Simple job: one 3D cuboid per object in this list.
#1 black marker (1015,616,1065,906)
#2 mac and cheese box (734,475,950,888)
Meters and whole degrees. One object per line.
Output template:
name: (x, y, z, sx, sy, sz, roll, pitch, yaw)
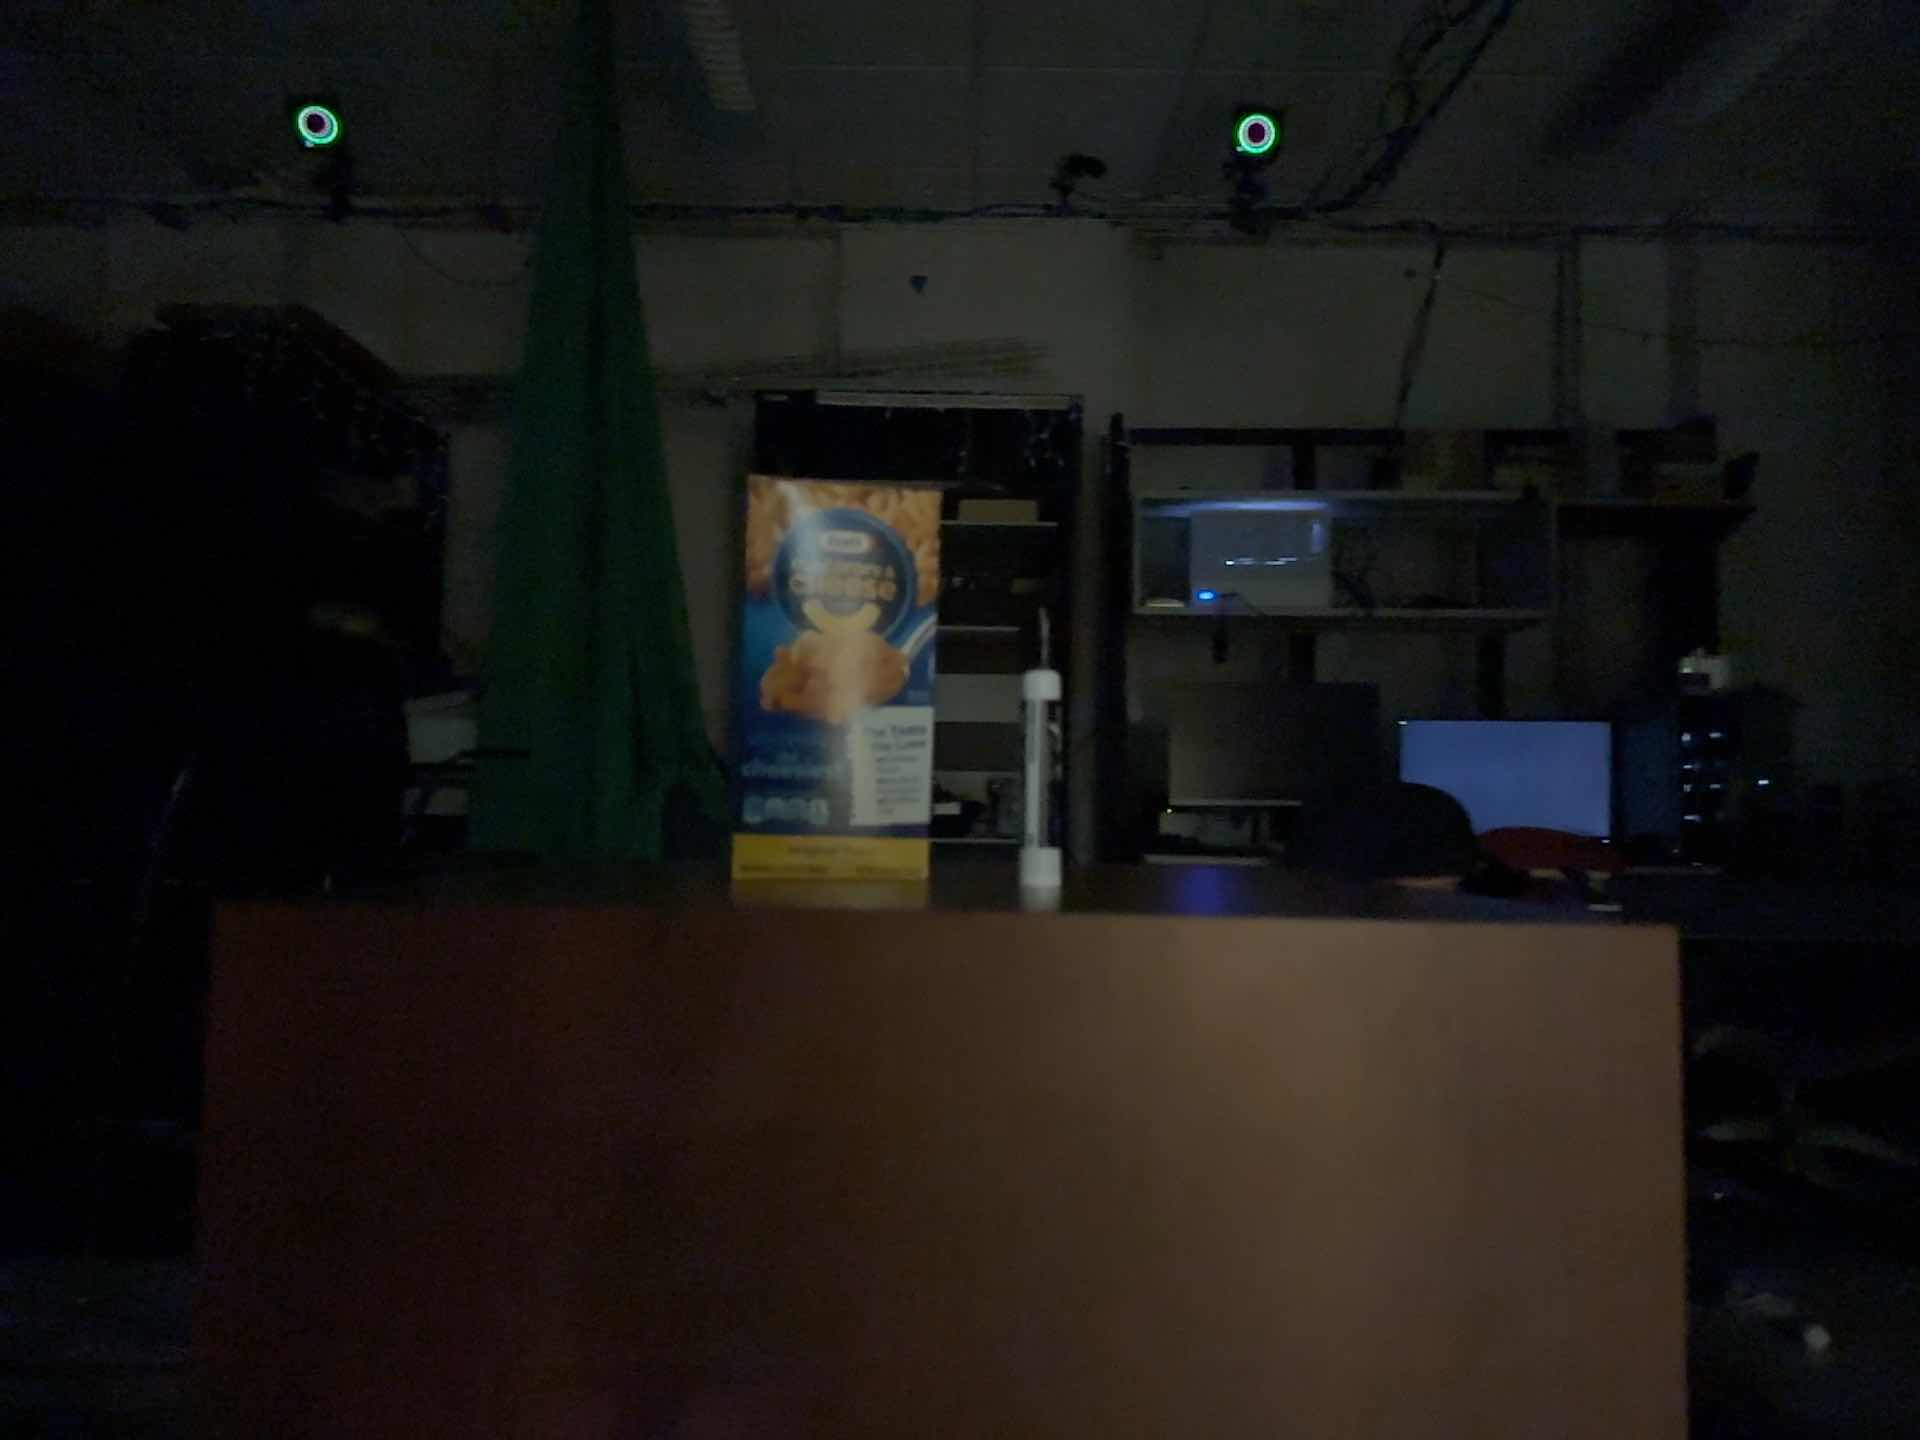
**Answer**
black marker: (0.034, 0.017, 0.565, 0.020, 0.121, 0.020, 1, -4, 0)
mac and cheese box: (-0.054, -0.016, 0.617, 0.088, 0.181, 0.035, 2, -3, -6)
